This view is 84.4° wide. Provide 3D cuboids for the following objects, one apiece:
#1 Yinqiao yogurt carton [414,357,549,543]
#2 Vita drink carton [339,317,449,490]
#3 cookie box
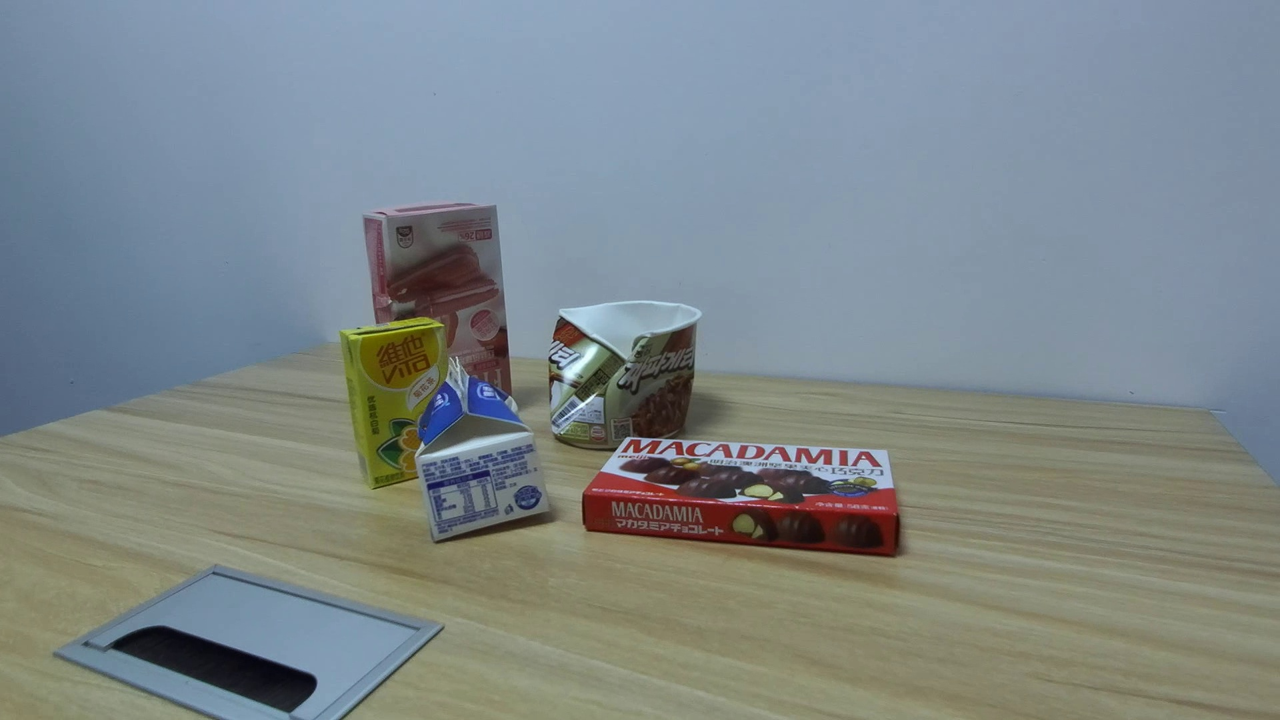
[{"bbox_3d":[-0.104,0.050,0.446,0.071,0.094,0.077,-12,17,-13],"label":"Yinqiao yogurt carton"},{"bbox_3d":[-0.173,0.029,0.511,0.067,0.109,0.043,-12,18,-32],"label":"Vita drink carton"},{"bbox_3d":[-0.168,-0.034,0.590,0.105,0.187,0.048,-15,21,-40],"label":"cookie box"}]
